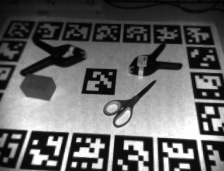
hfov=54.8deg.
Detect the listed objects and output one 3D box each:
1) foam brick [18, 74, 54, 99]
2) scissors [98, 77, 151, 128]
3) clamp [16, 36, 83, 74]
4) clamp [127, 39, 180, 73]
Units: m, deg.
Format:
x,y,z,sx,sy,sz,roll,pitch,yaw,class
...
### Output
x,y,z,sx,sy,sz,roll,pitch,yaw,class
-0.230,0.003,0.653,0.077,0.052,0.052,6,59,12,foam brick
0.049,0.034,0.638,0.087,0.016,0.204,41,65,16,scissors
-0.202,-0.108,0.730,0.203,0.037,0.164,-1,54,1,clamp
0.123,-0.087,0.710,0.166,0.037,0.121,-22,66,-11,clamp
